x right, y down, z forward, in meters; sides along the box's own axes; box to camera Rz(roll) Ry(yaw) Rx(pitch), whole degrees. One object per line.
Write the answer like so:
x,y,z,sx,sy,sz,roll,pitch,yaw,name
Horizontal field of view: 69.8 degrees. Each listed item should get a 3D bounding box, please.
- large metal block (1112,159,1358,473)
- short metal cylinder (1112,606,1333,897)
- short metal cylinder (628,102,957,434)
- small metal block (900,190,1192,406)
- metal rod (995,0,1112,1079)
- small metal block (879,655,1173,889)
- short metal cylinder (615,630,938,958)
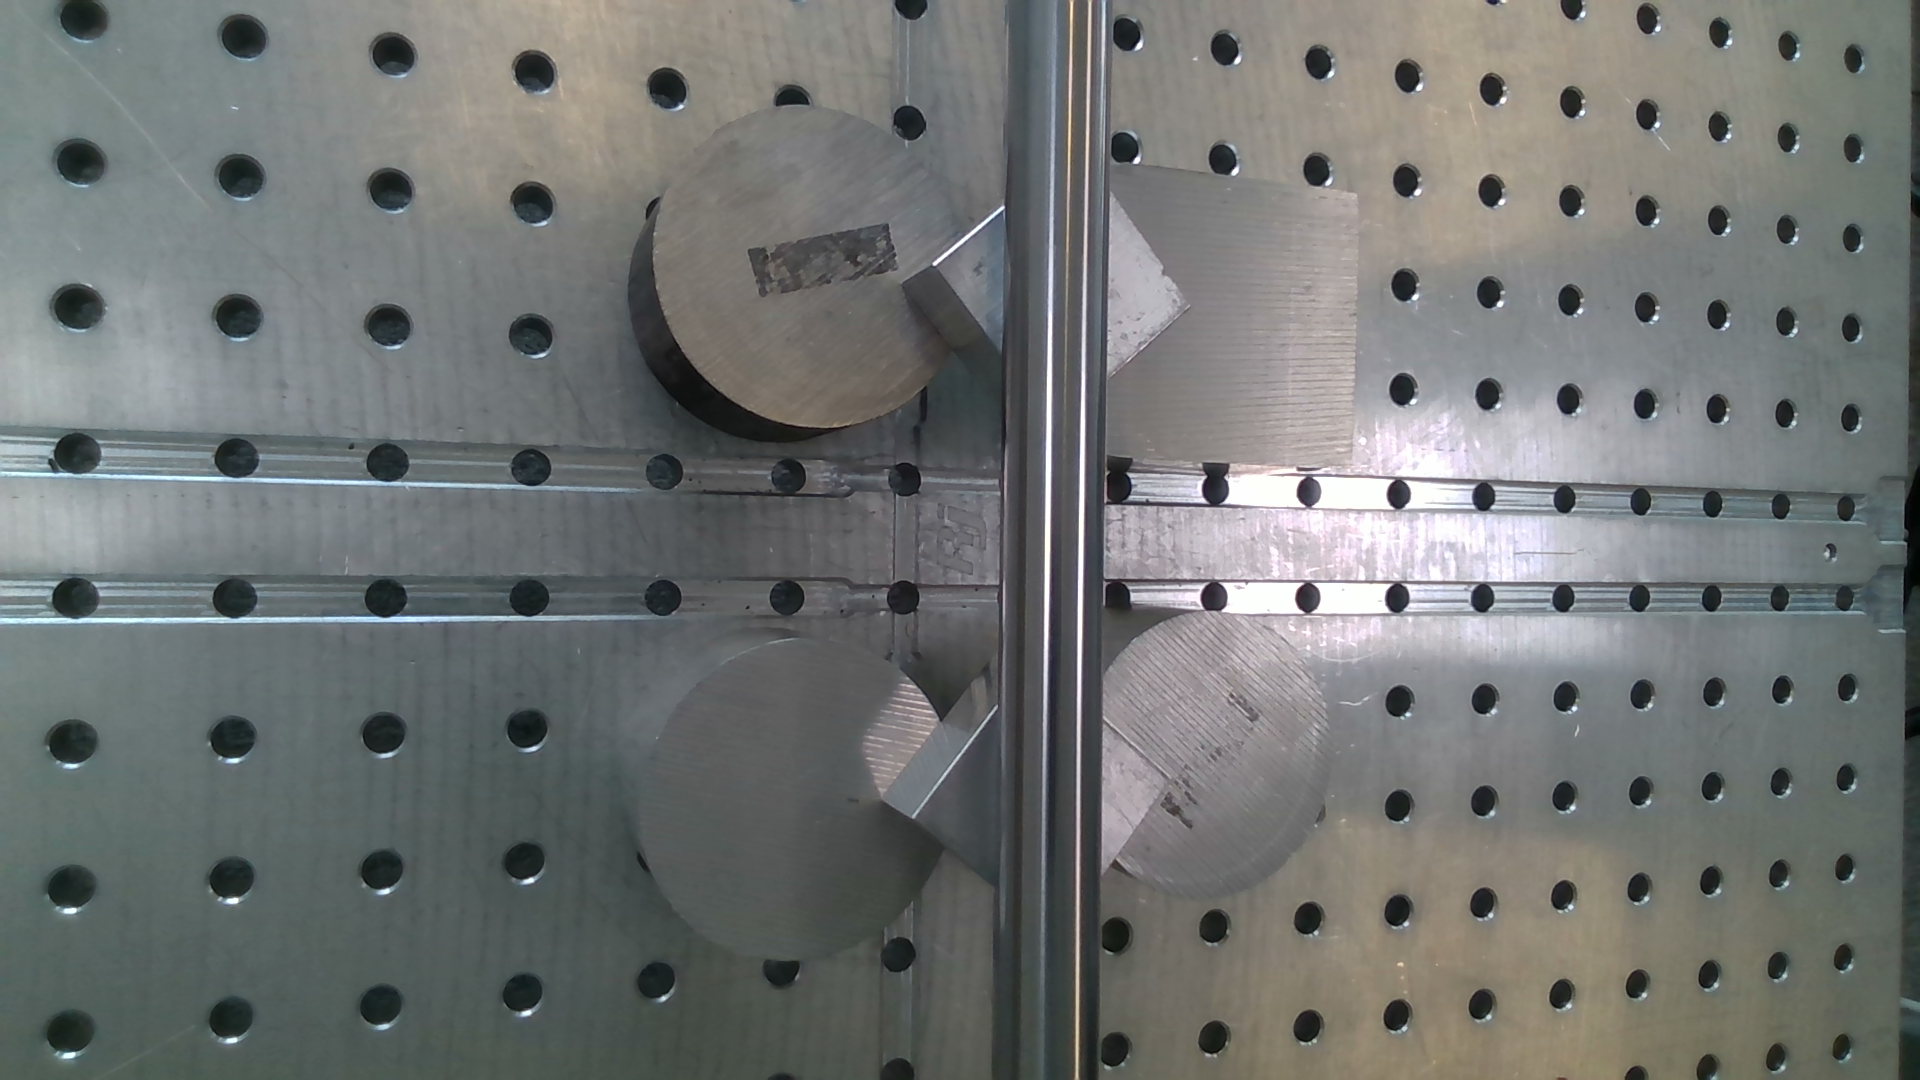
0.068,-0.062,0.408,0.080,0.050,0.080,1,90,-20,large metal block
0.061,0.059,0.406,0.080,0.050,0.080,0,90,-20,short metal cylinder
-0.045,-0.069,0.366,0.080,0.050,0.080,0,90,-20,short metal cylinder
0.022,-0.064,0.352,0.050,0.025,0.050,-42,103,-15,small metal block
0.022,-0.013,0.324,0.025,0.025,0.300,1,90,-20,metal rod
0.017,0.063,0.350,0.050,0.025,0.050,42,77,-15,small metal block
-0.048,0.064,0.366,0.080,0.050,0.080,0,90,-20,short metal cylinder
